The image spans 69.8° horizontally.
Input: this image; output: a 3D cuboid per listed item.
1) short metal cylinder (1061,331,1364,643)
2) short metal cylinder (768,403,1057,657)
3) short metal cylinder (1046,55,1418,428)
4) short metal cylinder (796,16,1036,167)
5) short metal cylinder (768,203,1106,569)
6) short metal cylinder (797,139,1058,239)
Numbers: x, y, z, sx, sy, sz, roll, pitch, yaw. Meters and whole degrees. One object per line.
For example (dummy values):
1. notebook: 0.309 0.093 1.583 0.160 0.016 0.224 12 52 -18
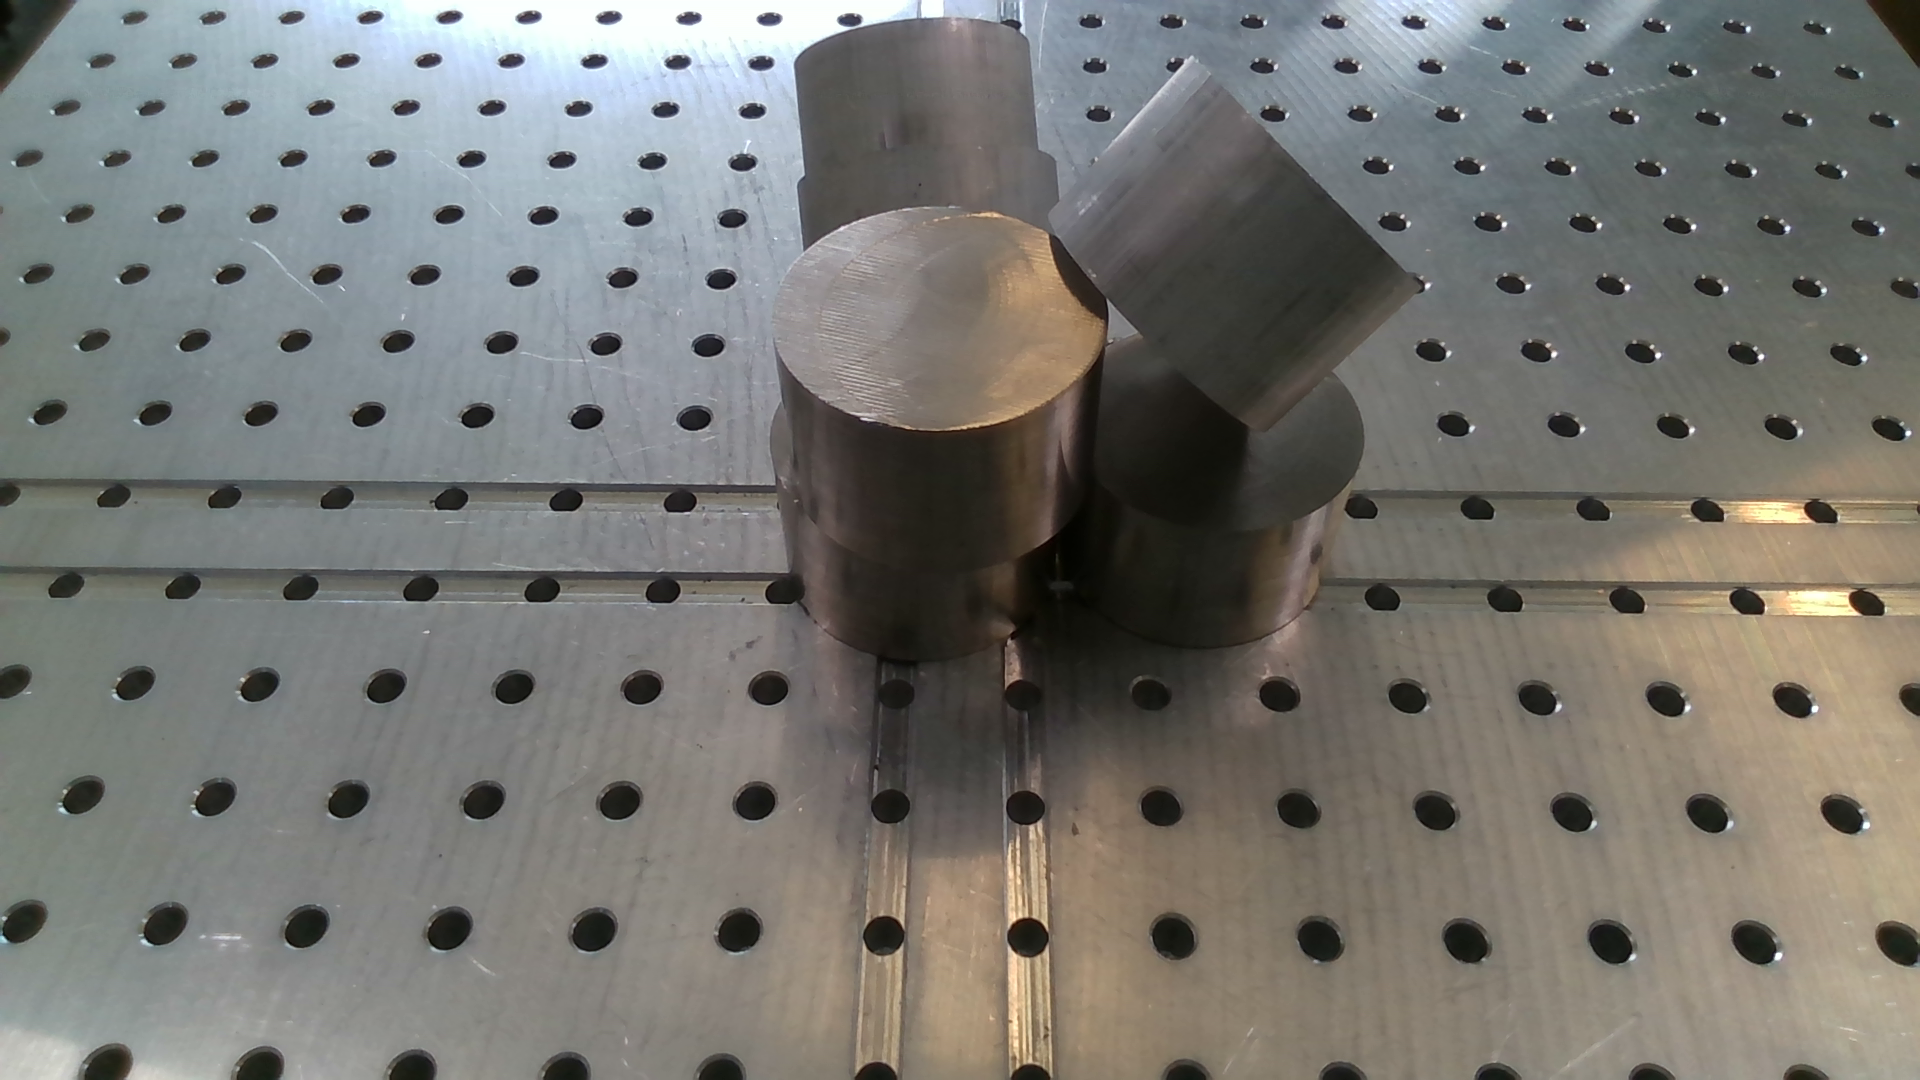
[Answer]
1. short metal cylinder: 0.069 -0.018 0.394 0.080 0.050 0.080 0 50 0
2. short metal cylinder: -0.012 -0.014 0.391 0.080 0.050 0.080 0 50 0
3. short metal cylinder: 0.068 -0.075 0.348 0.050 0.080 0.080 -45 52 20
4. short metal cylinder: -0.014 -0.139 0.468 0.080 0.080 0.050 -6 92 -5
5. short metal cylinder: -0.005 -0.040 0.345 0.080 0.050 0.080 0 50 0
6. short metal cylinder: -0.008 -0.087 0.424 0.080 0.080 0.050 -5 92 -4
